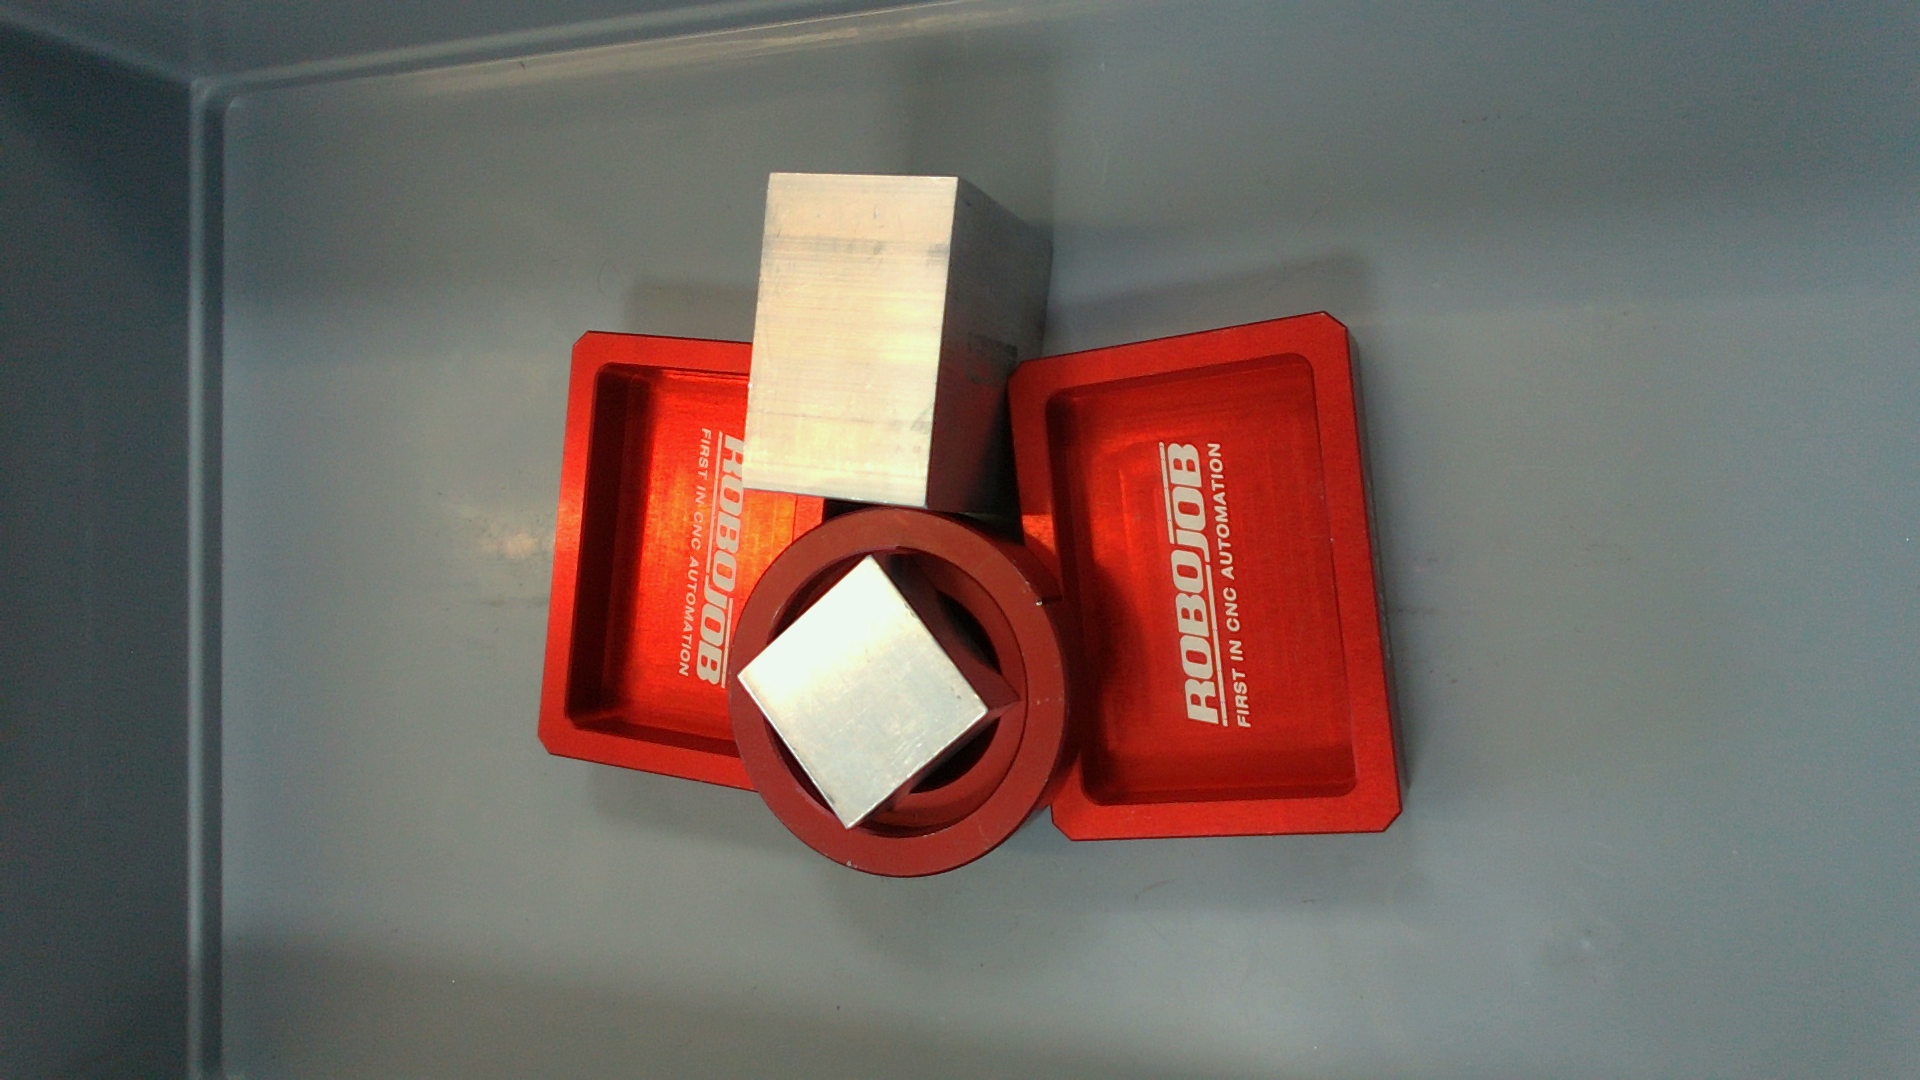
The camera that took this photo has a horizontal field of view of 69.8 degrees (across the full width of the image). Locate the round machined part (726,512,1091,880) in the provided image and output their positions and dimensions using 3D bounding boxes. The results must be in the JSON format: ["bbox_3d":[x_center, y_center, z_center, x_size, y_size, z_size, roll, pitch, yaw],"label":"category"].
[{"bbox_3d":[-0.011,0.040,0.379,0.098,0.042,0.098,0,90,20],"label":"round machined part"}]

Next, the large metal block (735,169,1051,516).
[{"bbox_3d":[-0.015,-0.049,0.370,0.050,0.080,0.080,7,92,20],"label":"large metal block"}]

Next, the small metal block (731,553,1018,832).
[{"bbox_3d":[-0.022,0.039,0.358,0.050,0.025,0.050,-41,77,15],"label":"small metal block"}]

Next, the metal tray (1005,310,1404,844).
[{"bbox_3d":[0.065,0.012,0.368,0.090,0.030,0.130,-7,88,20],"label":"metal tray"}]

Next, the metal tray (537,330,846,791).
[{"bbox_3d":[-0.077,0.005,0.419,0.090,0.030,0.130,7,92,20],"label":"metal tray"}]
